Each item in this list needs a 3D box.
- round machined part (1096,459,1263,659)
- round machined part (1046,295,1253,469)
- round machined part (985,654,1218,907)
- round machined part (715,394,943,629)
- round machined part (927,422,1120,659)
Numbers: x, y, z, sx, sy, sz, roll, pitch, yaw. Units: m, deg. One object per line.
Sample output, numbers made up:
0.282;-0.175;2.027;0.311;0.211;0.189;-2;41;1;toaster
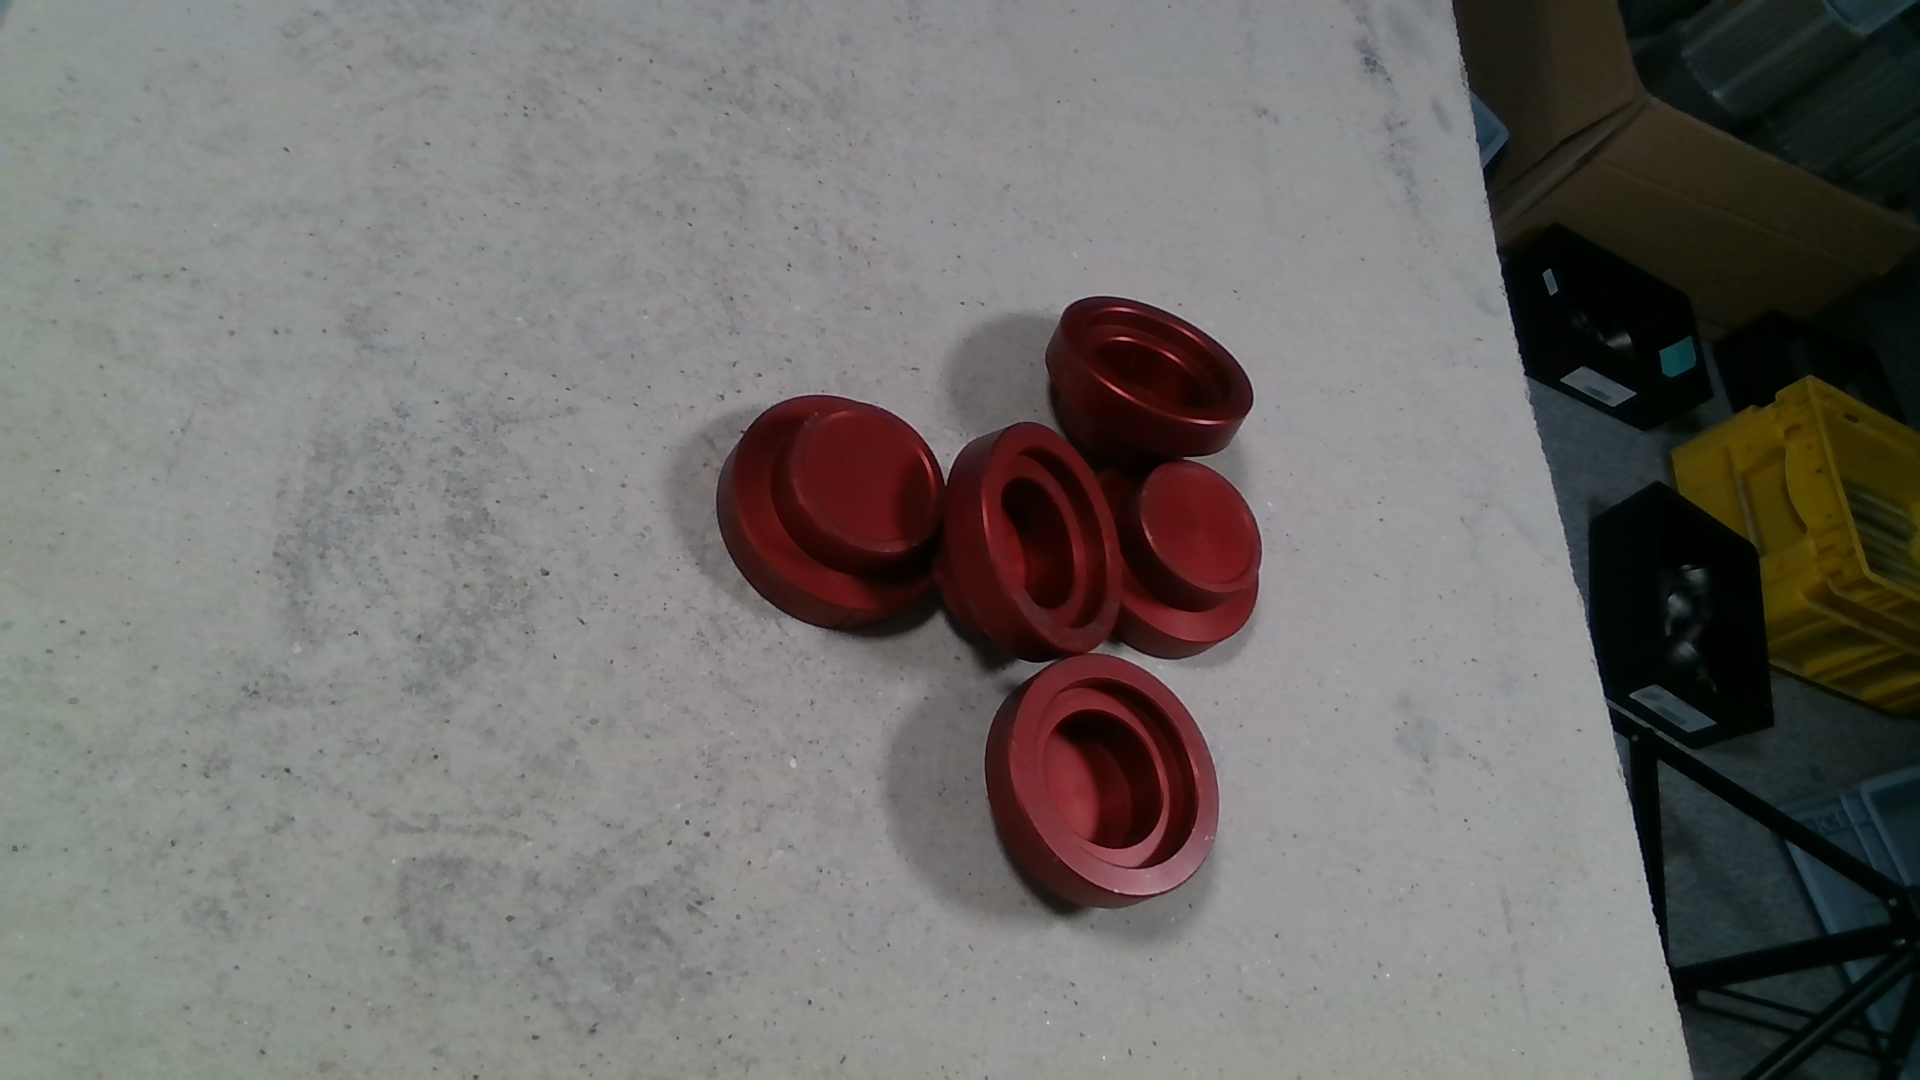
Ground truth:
0.100;0.002;0.635;0.098;0.042;0.098;14;59;-25;round machined part
0.085;-0.071;0.652;0.098;0.042;0.098;16;38;-12;round machined part
0.052;0.099;0.554;0.098;0.042;0.098;14;59;-25;round machined part
-0.045;-0.017;0.556;0.098;0.042;0.098;14;59;-25;round machined part
0.023;0.004;0.574;0.098;0.042;0.098;28;54;-45;round machined part
